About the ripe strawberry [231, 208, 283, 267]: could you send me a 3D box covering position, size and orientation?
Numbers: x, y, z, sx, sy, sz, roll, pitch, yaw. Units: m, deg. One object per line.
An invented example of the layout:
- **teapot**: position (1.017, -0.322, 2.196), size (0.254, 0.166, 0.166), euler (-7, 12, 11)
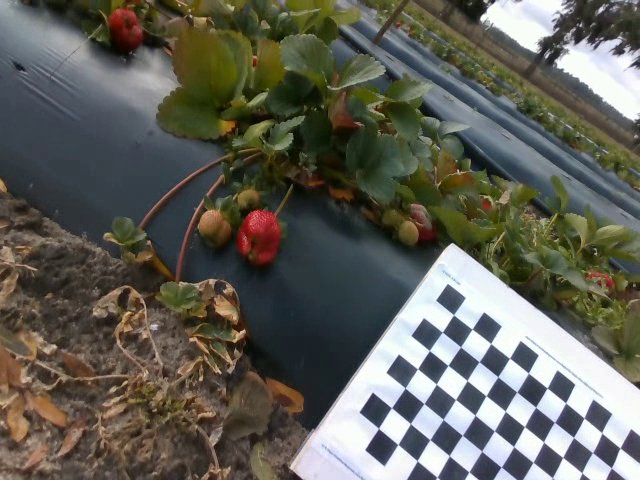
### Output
- **ripe strawberry**: position (-0.064, -0.008, 0.631), size (0.066, 0.075, 0.053), euler (22, -21, -4)
